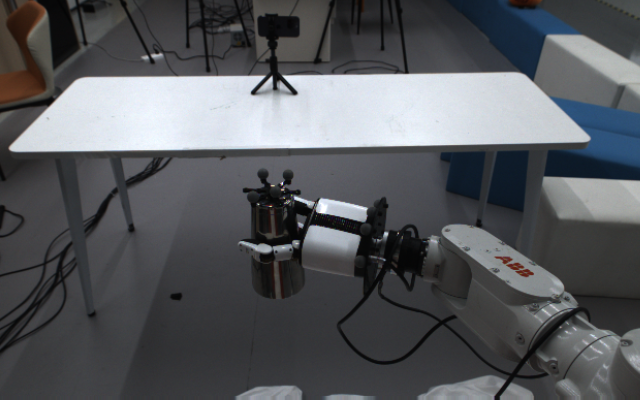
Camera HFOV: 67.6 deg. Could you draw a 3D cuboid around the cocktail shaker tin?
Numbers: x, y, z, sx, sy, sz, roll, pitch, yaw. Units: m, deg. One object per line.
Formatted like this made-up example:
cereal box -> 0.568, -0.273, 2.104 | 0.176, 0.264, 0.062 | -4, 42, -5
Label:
cocktail shaker tin -> -0.071, 0.065, 0.783 | 0.093, 0.170, 0.093 | -1, 33, 0
